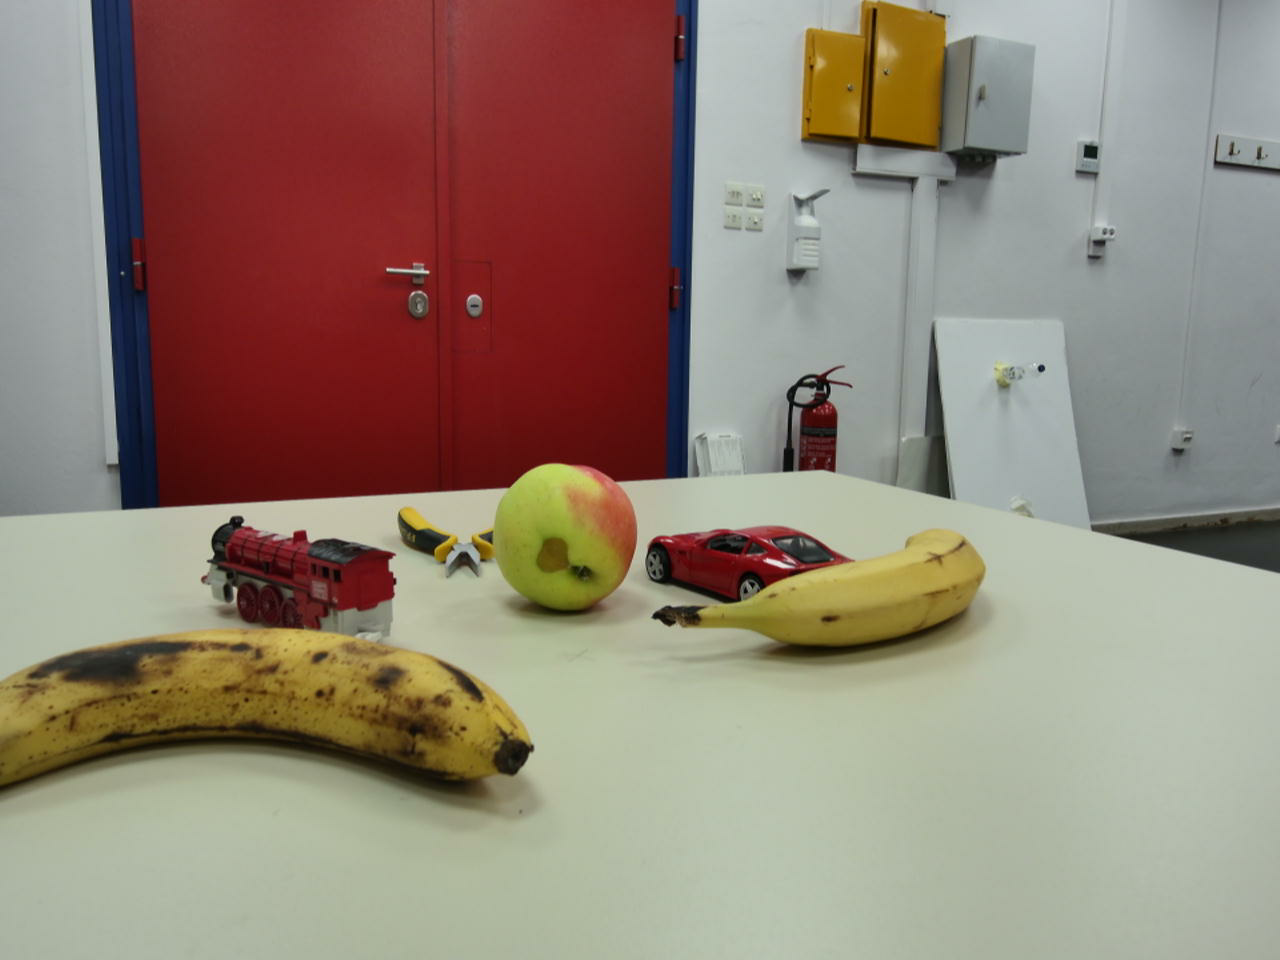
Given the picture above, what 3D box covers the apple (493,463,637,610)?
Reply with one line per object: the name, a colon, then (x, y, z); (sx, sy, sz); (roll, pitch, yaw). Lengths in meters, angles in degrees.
apple: (-0.038, 0.029, 0.520); (0.075, 0.074, 0.075); (-6, 9, -44)
